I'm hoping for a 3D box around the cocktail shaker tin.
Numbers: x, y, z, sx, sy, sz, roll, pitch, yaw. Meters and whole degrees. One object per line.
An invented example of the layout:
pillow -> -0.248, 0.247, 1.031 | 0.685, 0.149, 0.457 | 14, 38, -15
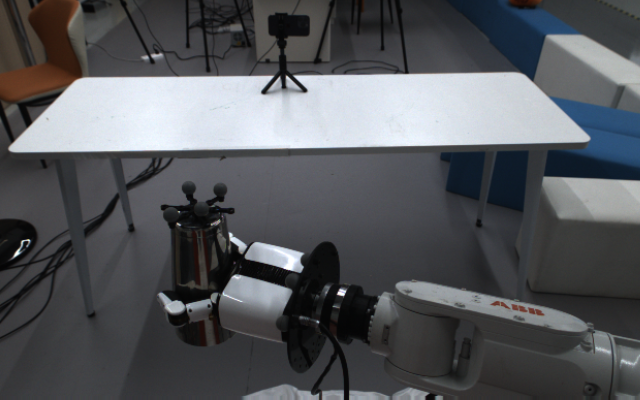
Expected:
cocktail shaker tin -> -0.148, 0.094, 0.627 | 0.093, 0.170, 0.093 | 2, 28, -1
